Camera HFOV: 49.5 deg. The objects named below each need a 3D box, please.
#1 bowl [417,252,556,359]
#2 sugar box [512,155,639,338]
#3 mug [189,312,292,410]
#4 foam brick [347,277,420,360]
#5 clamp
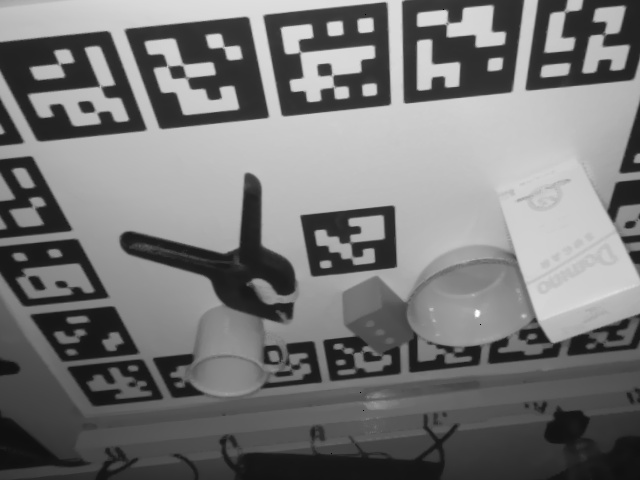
[{"bbox_3d":[0.188,0.066,0.794,0.162,0.055,0.160,-2,132,-1],"label":"bowl"},{"bbox_3d":[0.249,0.001,0.660,0.092,0.178,0.045,-24,126,19],"label":"sugar box"},{"bbox_3d":[-0.090,0.144,0.823,0.118,0.082,0.092,16,129,-12],"label":"mug"},{"bbox_3d":[0.075,0.092,0.820,0.052,0.052,0.078,-28,126,19],"label":"foam brick"},{"bbox_3d":[-0.073,0.034,0.752,0.164,0.037,0.203,-26,127,15],"label":"clamp"}]
